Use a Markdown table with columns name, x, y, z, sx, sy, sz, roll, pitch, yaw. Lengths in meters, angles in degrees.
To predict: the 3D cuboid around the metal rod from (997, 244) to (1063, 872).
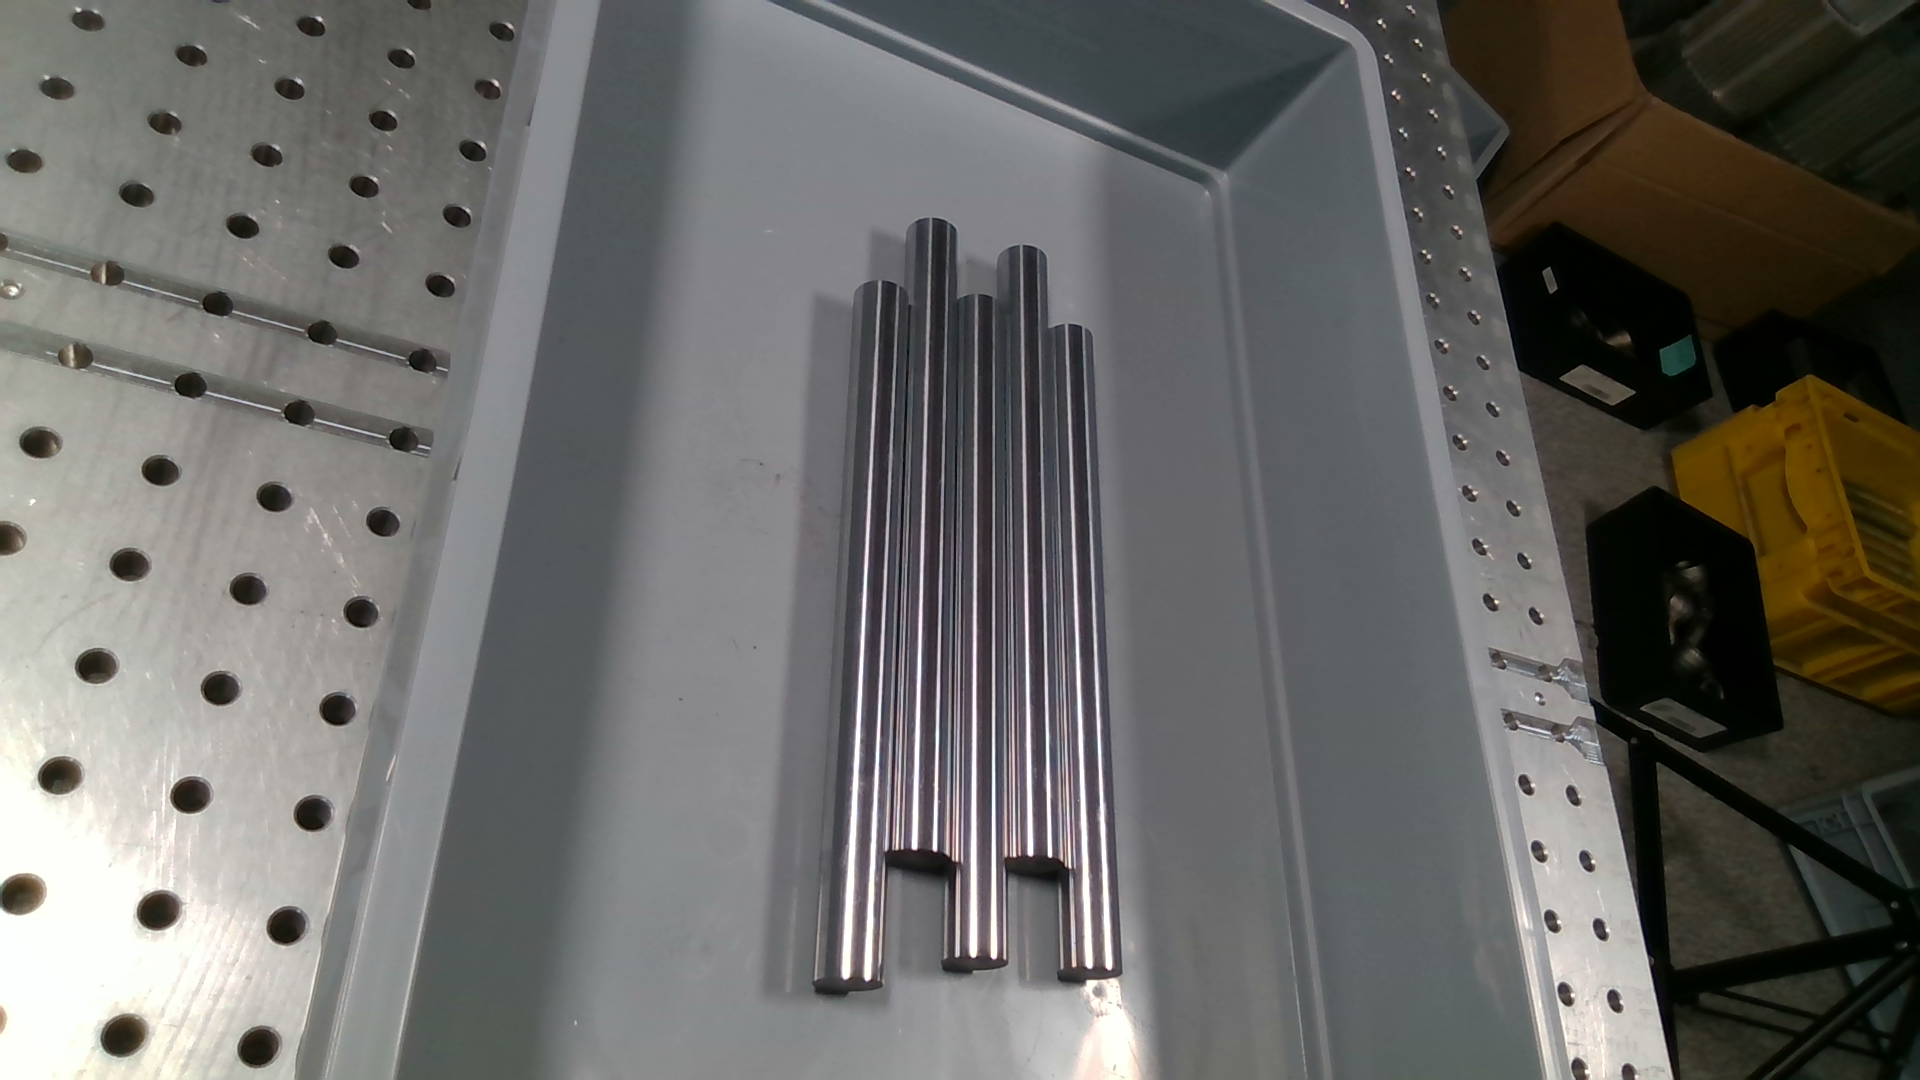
| name | x | y | z | sx | sy | sz | roll | pitch | yaw |
| --- | --- | --- | --- | --- | --- | --- | --- | --- | --- |
| metal rod | 0.029 | -0.006 | 0.606 | 0.025 | 0.025 | 0.299 | 15 | 58 | -24 |

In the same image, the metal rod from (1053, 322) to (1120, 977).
| name | x | y | z | sx | sy | sz | roll | pitch | yaw |
| --- | --- | --- | --- | --- | --- | --- | --- | --- | --- |
| metal rod | 0.050 | 0.033 | 0.598 | 0.025 | 0.025 | 0.299 | 15 | 58 | -24 |

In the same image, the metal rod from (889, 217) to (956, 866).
| name | x | y | z | sx | sy | sz | roll | pitch | yaw |
| --- | --- | --- | --- | --- | --- | --- | --- | --- | --- |
| metal rod | -0.015 | -0.014 | 0.583 | 0.025 | 0.025 | 0.299 | 15 | 58 | -24 |

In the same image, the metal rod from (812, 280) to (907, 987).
| name | x | y | z | sx | sy | sz | roll | pitch | yaw |
| --- | --- | --- | --- | --- | --- | --- | --- | --- | --- |
| metal rod | -0.038 | 0.022 | 0.550 | 0.025 | 0.025 | 0.299 | 15 | 58 | -24 |

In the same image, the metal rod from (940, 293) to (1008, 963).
| name | x | y | z | sx | sy | sz | roll | pitch | yaw |
| --- | --- | --- | --- | --- | --- | --- | --- | --- | --- |
| metal rod | 0.006 | 0.023 | 0.577 | 0.025 | 0.025 | 0.299 | 15 | 58 | -24 |
